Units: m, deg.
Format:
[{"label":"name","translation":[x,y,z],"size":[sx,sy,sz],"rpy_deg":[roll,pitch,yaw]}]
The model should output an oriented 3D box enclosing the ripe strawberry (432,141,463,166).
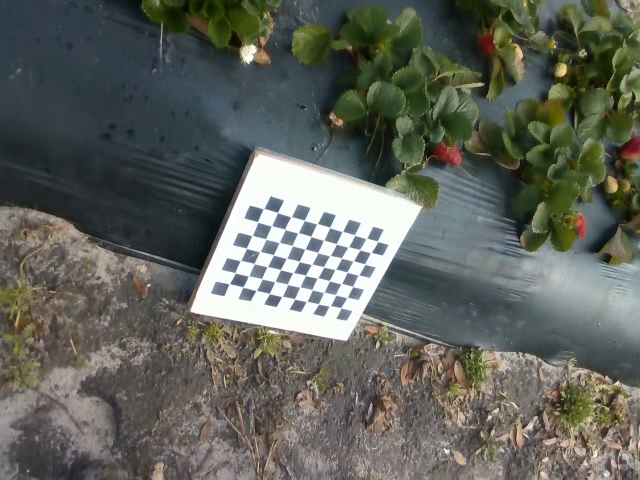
[{"label":"ripe strawberry","translation":[0.207,-0.137,0.990],"size":[0.050,0.064,0.043],"rpy_deg":[-37,35,1]}]
